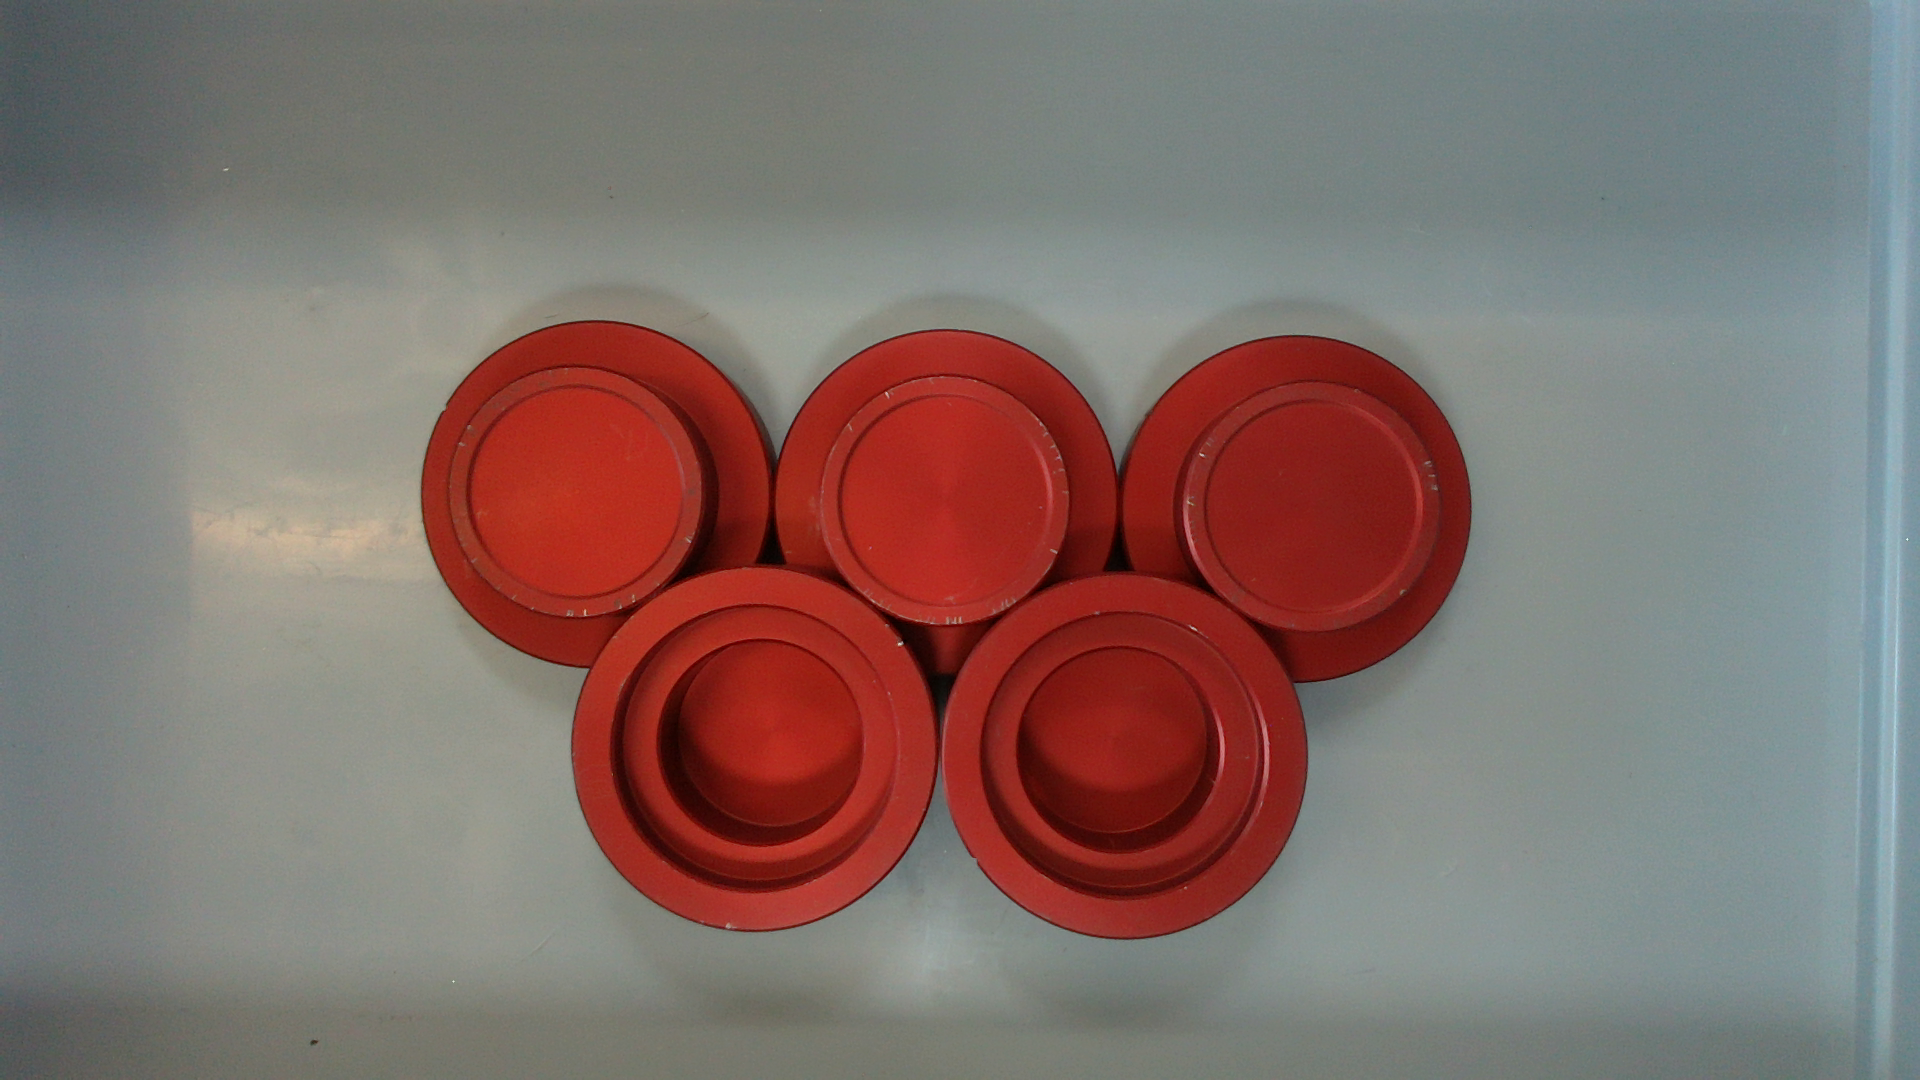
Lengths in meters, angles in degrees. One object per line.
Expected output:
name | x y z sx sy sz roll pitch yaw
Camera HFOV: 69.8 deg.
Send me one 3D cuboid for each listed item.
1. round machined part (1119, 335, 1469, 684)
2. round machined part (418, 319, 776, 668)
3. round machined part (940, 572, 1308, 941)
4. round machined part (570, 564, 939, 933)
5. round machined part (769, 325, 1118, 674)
round machined part | 0.094 -0.009 0.385 0.098 0.042 0.098 0 89 0
round machined part | -0.102 -0.013 0.384 0.098 0.042 0.098 0 89 -1
round machined part | 0.044 0.058 0.386 0.098 0.042 0.098 0 90 0
round machined part | -0.054 0.055 0.385 0.098 0.042 0.098 0 90 0
round machined part | -0.005 -0.011 0.385 0.098 0.042 0.098 0 89 0
